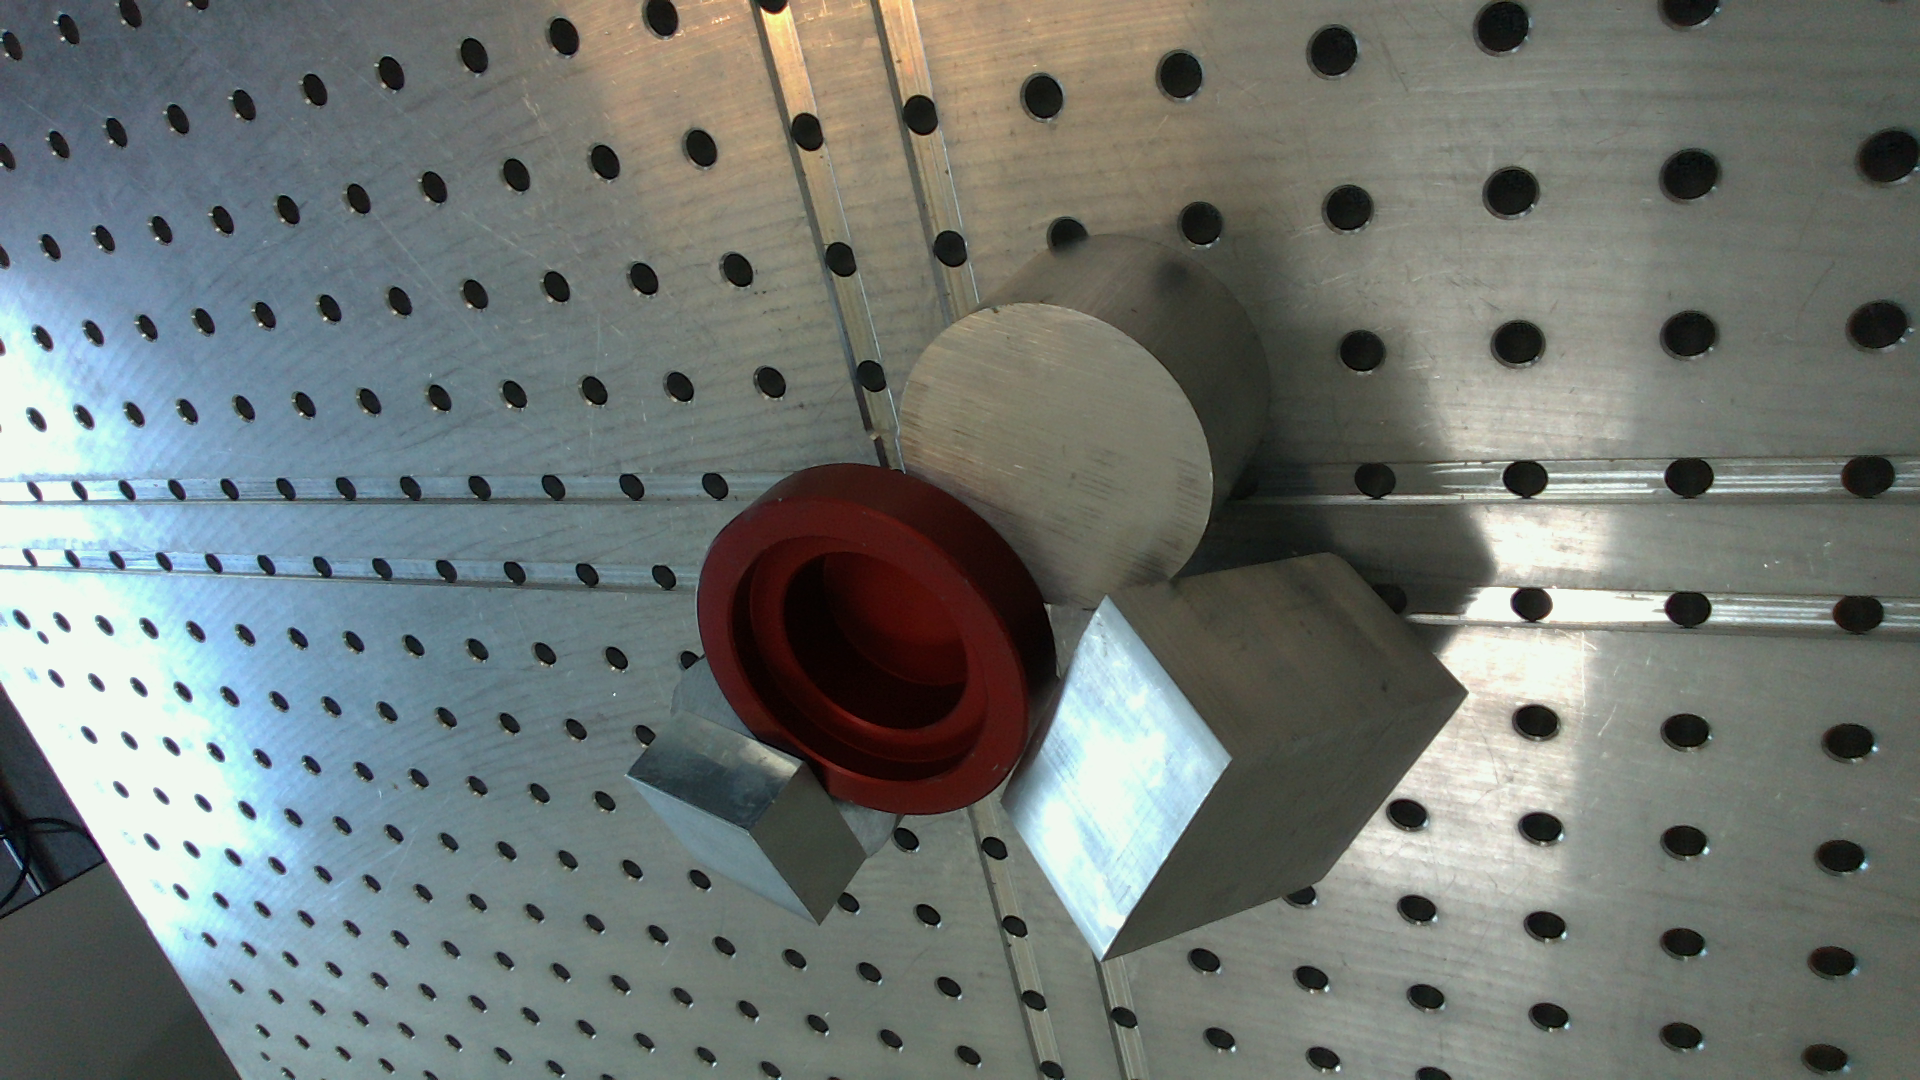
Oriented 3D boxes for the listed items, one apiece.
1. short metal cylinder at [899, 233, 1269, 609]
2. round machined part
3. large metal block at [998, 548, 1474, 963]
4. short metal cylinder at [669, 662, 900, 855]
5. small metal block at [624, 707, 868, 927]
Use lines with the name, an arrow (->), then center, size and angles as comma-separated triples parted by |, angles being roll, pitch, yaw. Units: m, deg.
short metal cylinder -> 0.032, -0.030, 0.344 | 0.080, 0.050, 0.080 | 13, 124, 21
round machined part -> -0.019, 0.023, 0.371 | 0.098, 0.042, 0.098 | 13, 124, 21
large metal block -> 0.067, 0.053, 0.348 | 0.050, 0.080, 0.080 | 55, 138, 35
short metal cylinder -> -0.044, 0.056, 0.438 | 0.080, 0.050, 0.080 | 13, 124, 21
small metal block -> -0.061, 0.080, 0.397 | 0.050, 0.025, 0.050 | 15, 145, 34
